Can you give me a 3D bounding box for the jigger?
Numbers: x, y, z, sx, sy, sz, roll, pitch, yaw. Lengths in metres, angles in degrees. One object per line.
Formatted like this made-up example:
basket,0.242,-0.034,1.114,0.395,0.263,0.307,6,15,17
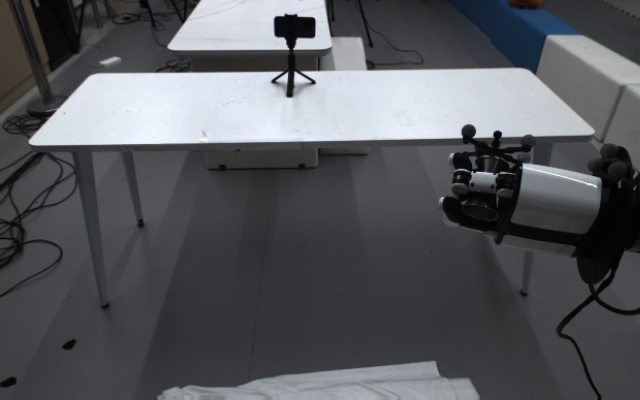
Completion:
jigger,0.204,-0.015,0.585,0.043,0.043,0.071,13,69,15
